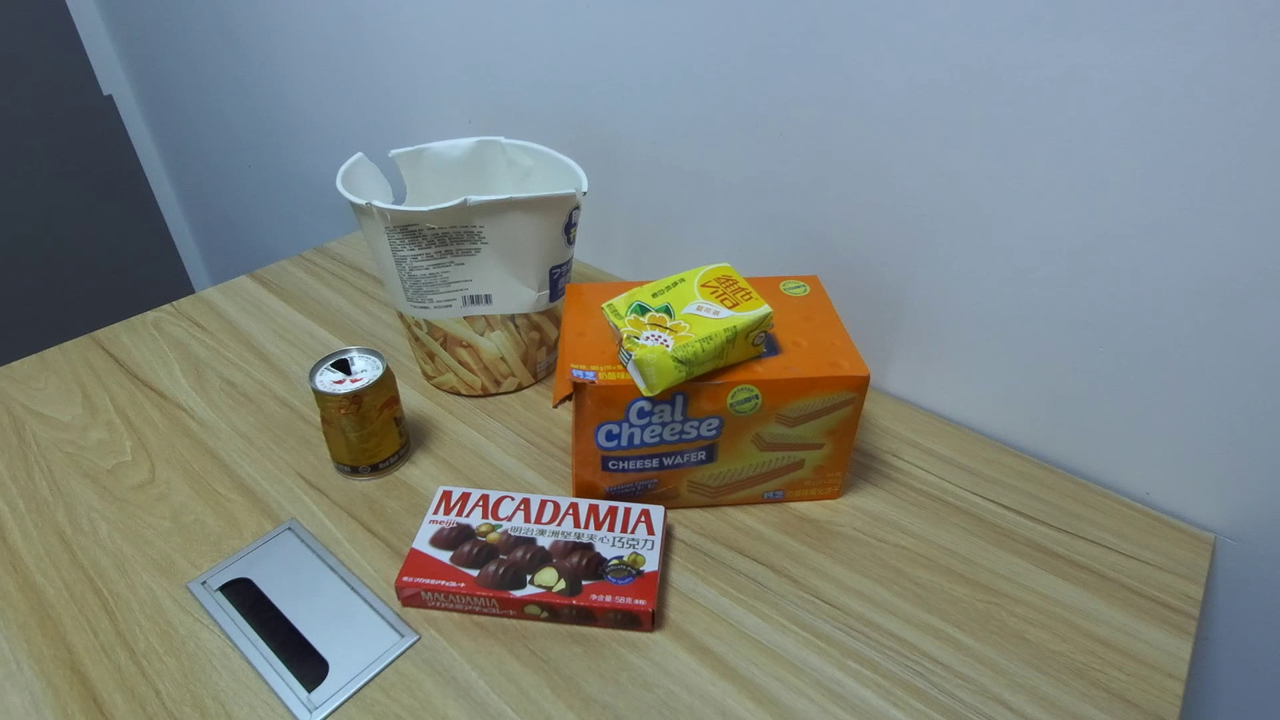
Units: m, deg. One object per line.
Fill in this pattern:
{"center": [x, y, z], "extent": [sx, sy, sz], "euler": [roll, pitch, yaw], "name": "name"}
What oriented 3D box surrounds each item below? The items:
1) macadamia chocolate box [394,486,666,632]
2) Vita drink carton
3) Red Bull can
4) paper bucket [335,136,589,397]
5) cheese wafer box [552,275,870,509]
{"center": [-0.073, 0.140, 0.510], "extent": [0.178, 0.027, 0.095], "euler": [4, 36, 6], "name": "macadamia chocolate box"}
{"center": [0.032, -0.022, 0.502], "extent": [0.108, 0.042, 0.086], "euler": [-18, 48, -19], "name": "Vita drink carton"}
{"center": [-0.231, 0.044, 0.584], "extent": [0.068, 0.093, 0.068], "euler": [0, 34, 0], "name": "Red Bull can"}
{"center": [-0.156, -0.089, 0.668], "extent": [0.203, 0.197, 0.145], "euler": [-9, 37, -14], "name": "paper bucket"}
{"center": [0.048, 0.022, 0.578], "extent": [0.227, 0.137, 0.149], "euler": [-2, 37, -4], "name": "cheese wafer box"}
